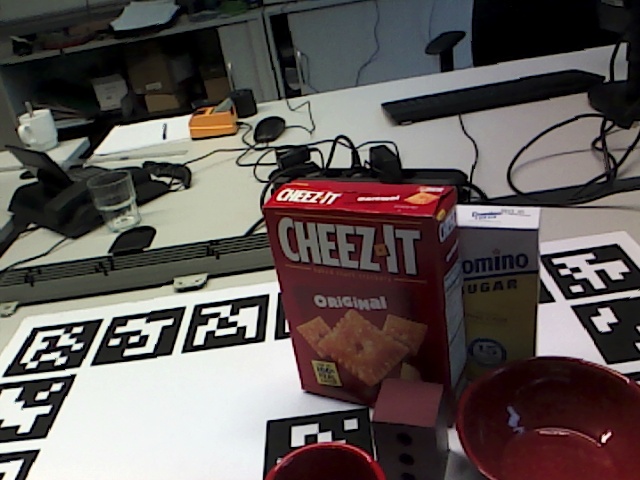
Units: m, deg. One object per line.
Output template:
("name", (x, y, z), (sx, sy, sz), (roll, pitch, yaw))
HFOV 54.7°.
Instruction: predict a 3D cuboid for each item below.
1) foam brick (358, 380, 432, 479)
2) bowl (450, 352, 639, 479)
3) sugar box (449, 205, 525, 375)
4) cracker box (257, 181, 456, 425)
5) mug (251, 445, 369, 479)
("foam brick", (0.066, 0.168, 0.531), (0.053, 0.078, 0.051), (-1, 29, 18))
("bowl", (0.187, 0.162, 0.493), (0.162, 0.055, 0.162), (-8, 29, 4))
("sugar box", (0.149, 0.052, 0.600), (0.093, 0.176, 0.045), (2, 30, 23))
("cracker box", (0.038, 0.060, 0.587), (0.165, 0.213, 0.072), (8, 31, 29))
("mug", (-0.015, 0.216, 0.450), (0.117, 0.081, 0.093), (-14, 20, -3))
